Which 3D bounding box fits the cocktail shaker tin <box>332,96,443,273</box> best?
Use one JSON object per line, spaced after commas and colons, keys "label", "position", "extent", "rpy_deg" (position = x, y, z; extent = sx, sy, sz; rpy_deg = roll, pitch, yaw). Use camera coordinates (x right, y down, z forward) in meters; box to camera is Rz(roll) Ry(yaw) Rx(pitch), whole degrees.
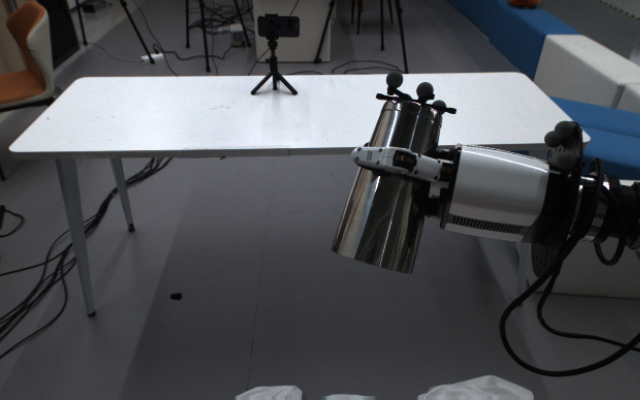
{"label": "cocktail shaker tin", "position": [0.081, -0.015, 0.523], "extent": [0.093, 0.170, 0.093], "rpy_deg": [16, -2, 1]}
